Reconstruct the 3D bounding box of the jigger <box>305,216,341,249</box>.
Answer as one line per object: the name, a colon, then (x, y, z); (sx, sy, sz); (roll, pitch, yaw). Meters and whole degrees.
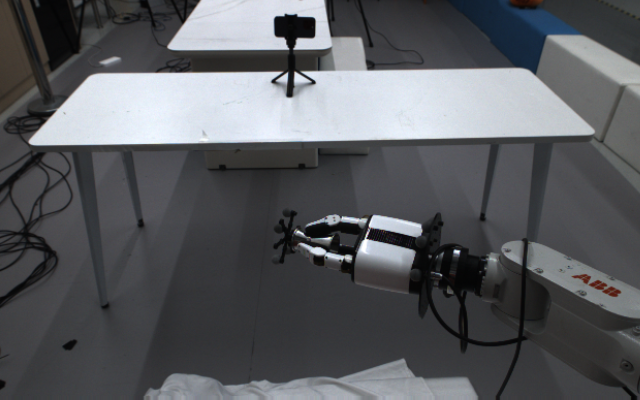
jigger: (-0.002, 0.066, 0.781); (0.071, 0.043, 0.043); (10, 35, 22)
